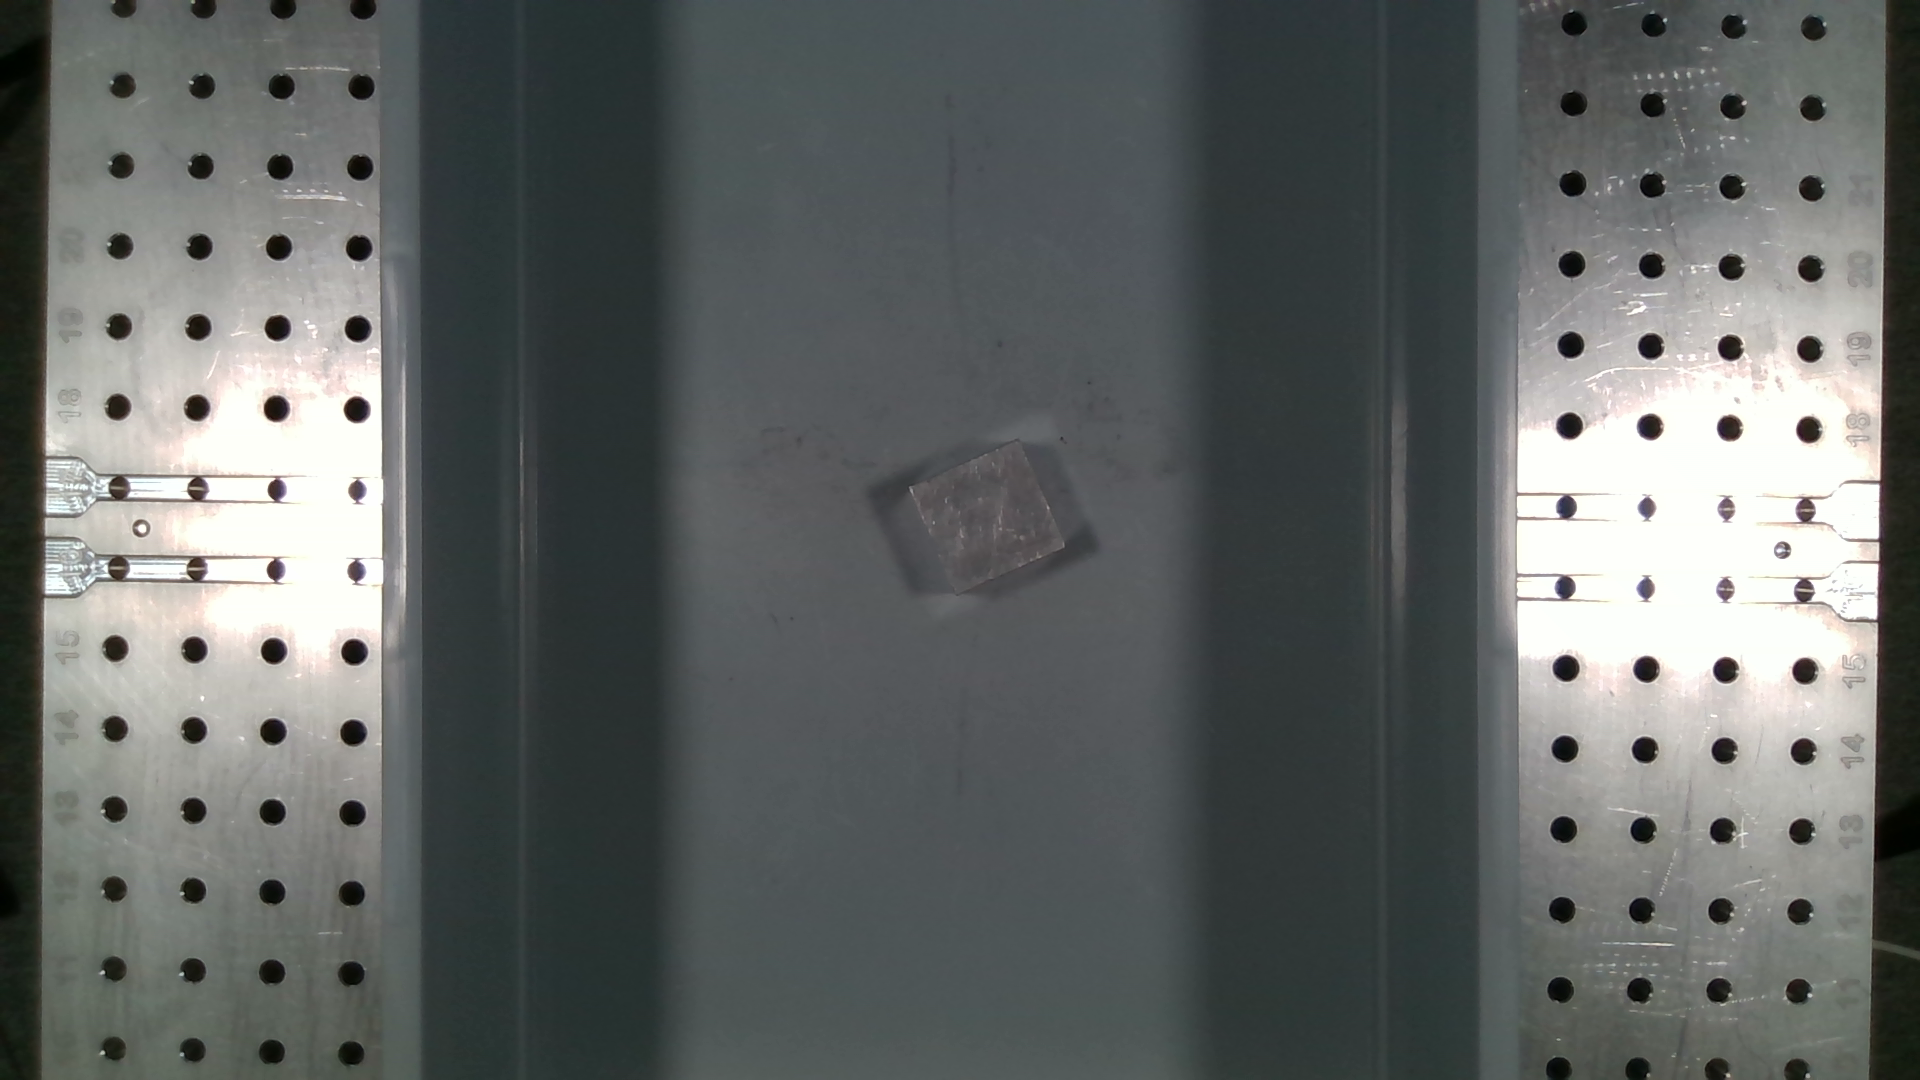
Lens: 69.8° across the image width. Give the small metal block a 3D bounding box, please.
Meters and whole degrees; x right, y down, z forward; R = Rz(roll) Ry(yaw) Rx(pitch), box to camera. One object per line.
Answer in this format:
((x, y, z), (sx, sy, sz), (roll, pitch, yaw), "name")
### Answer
((0.011, -0.010, 0.584), (0.050, 0.025, 0.050), (-23, 90, 0), "small metal block")
